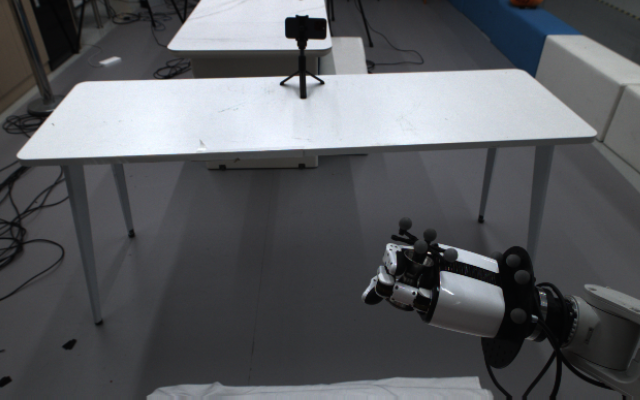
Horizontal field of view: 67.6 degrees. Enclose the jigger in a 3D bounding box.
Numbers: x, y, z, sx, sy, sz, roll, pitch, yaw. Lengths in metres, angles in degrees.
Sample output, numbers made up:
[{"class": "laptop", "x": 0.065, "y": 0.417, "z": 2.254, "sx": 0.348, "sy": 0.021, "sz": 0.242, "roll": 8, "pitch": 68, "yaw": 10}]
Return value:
[{"class": "jigger", "x": 0.117, "y": 0.104, "z": 0.631, "sx": 0.043, "sy": 0.071, "sz": 0.043, "roll": 18, "pitch": 17, "yaw": -6}]
